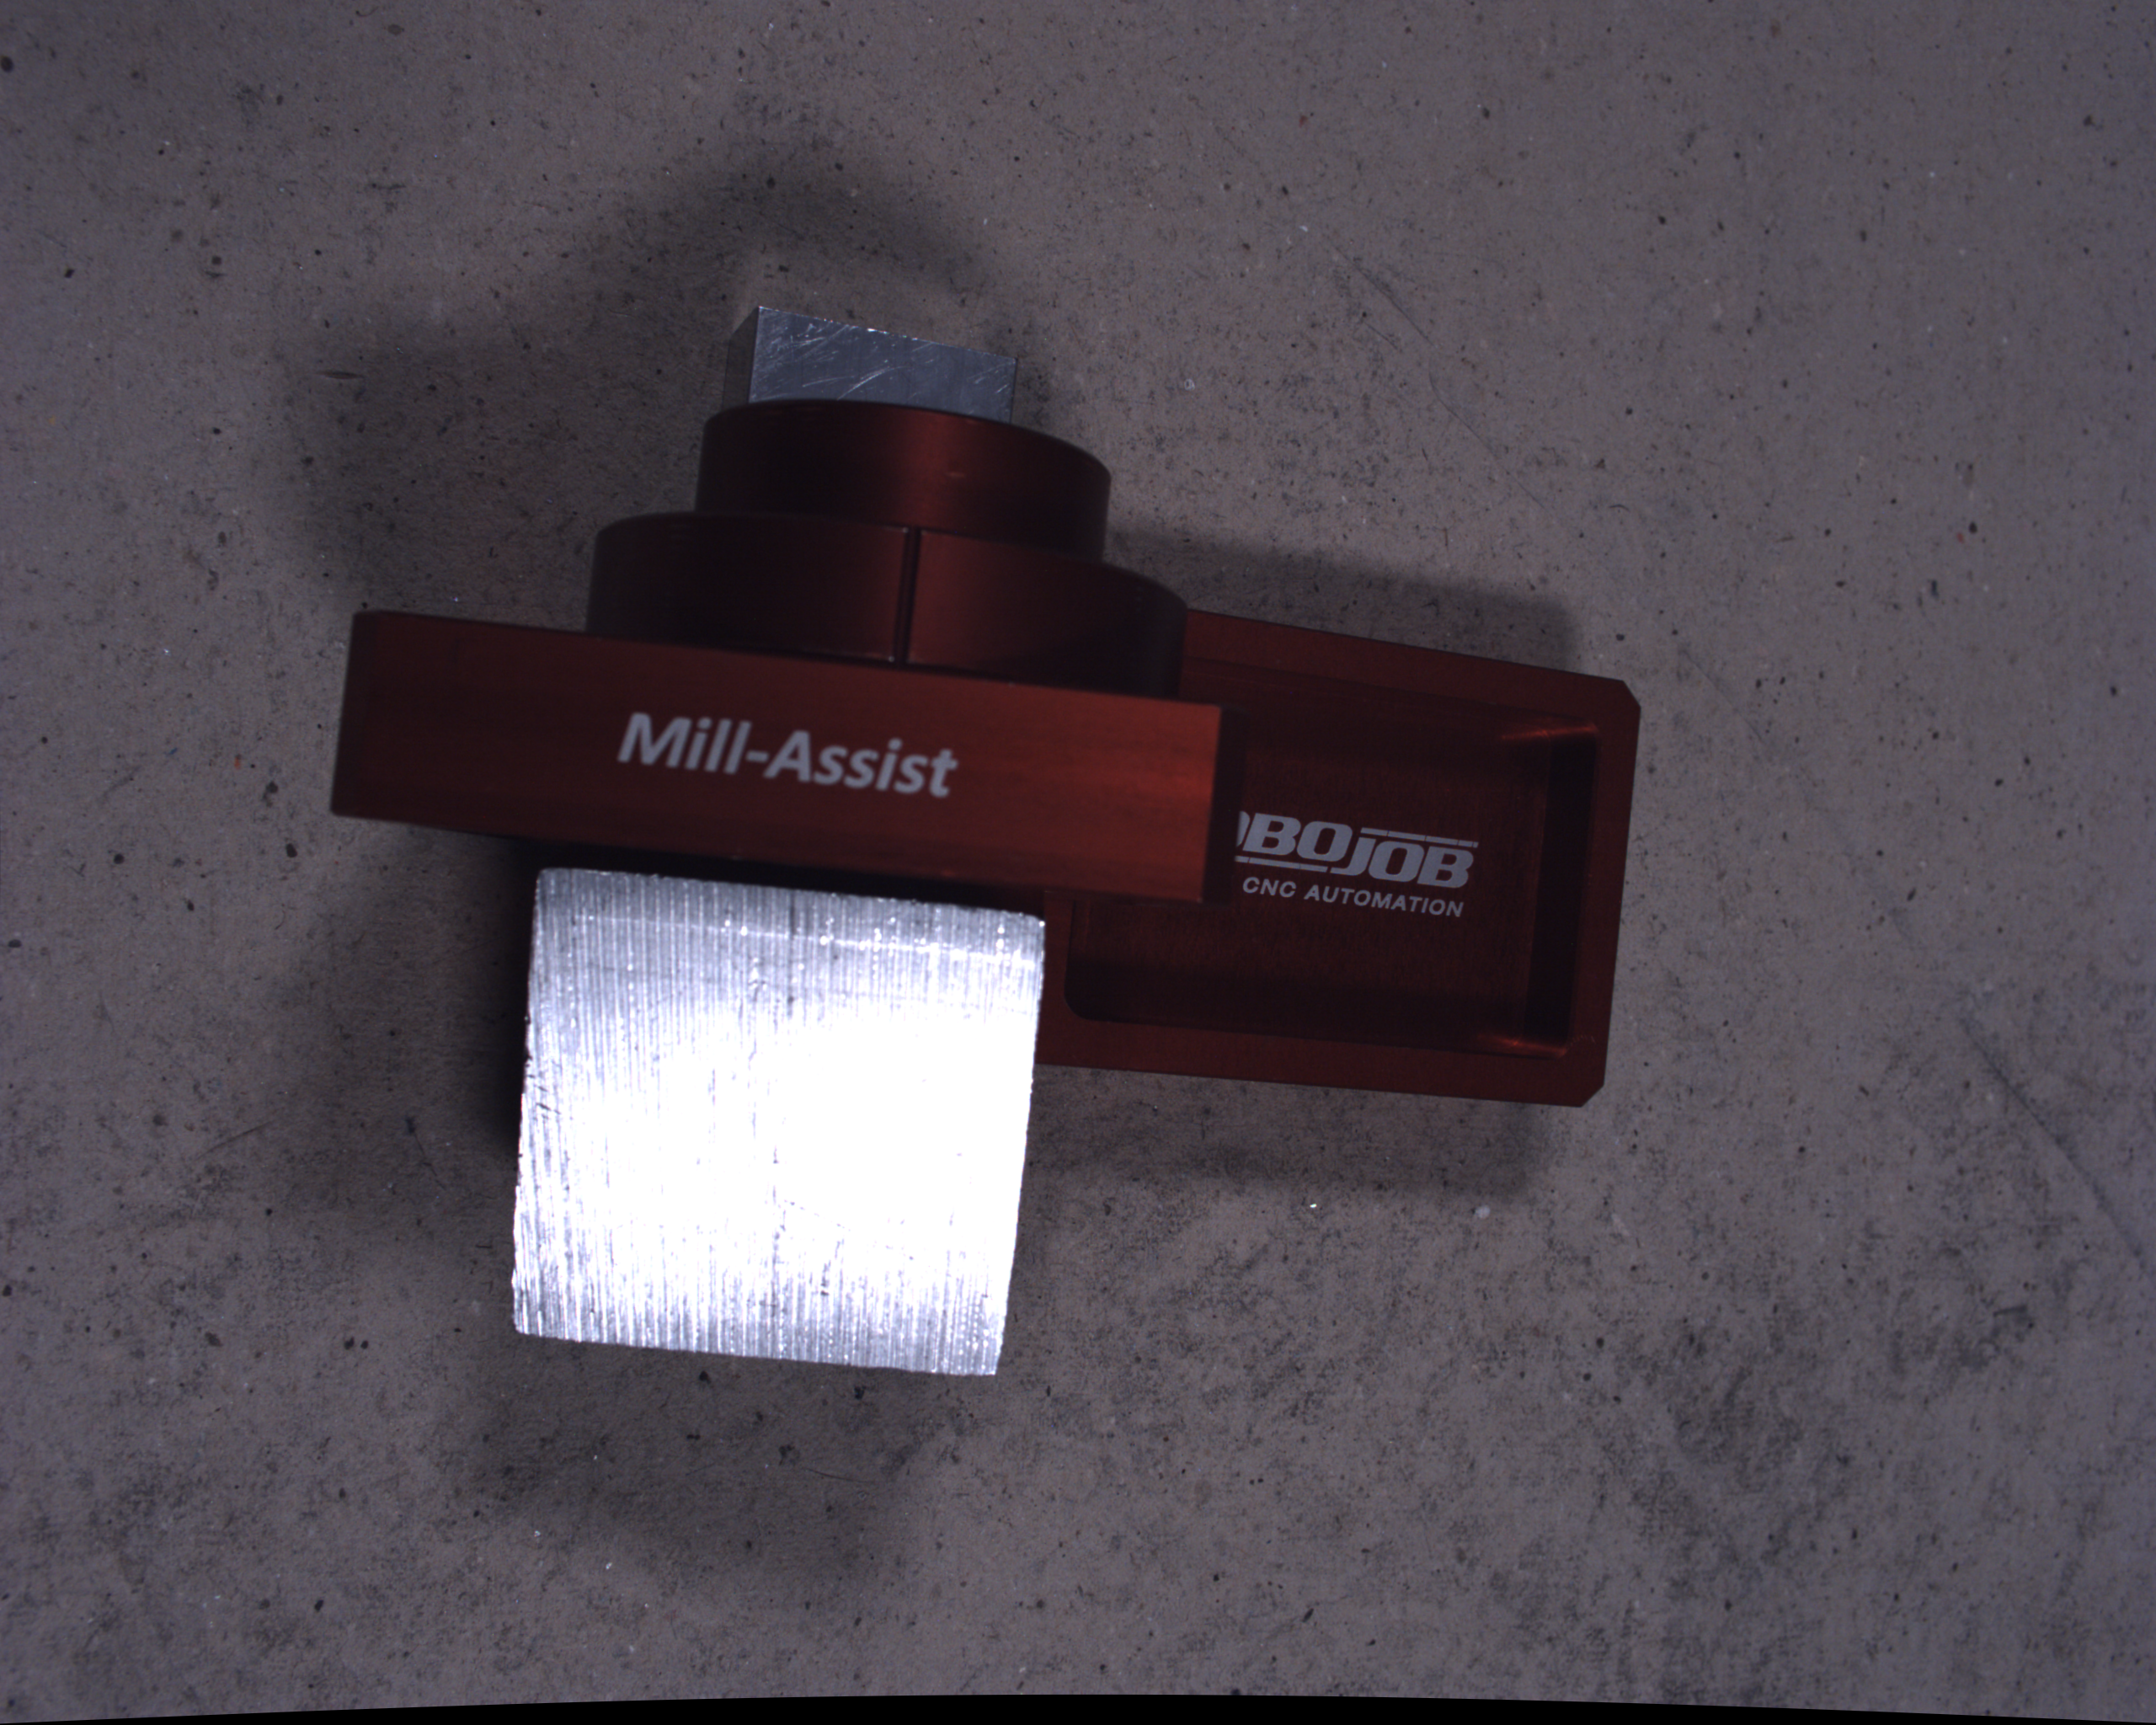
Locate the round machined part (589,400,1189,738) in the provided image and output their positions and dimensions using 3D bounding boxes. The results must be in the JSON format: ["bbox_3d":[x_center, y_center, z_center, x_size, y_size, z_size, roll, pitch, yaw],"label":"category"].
[{"bbox_3d":[-0.030,-0.048,0.349,0.099,0.098,0.042,6,88,-20],"label":"round machined part"}]

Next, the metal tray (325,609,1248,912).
[{"bbox_3d":[-0.043,-0.014,0.342,0.131,0.090,0.030,6,89,-2],"label":"metal tray"}]

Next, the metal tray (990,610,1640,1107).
[{"bbox_3d":[0.048,0.000,0.426,0.131,0.030,0.089,7,88,-20],"label":"metal tray"}]

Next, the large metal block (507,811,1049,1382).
[{"bbox_3d":[-0.049,0.038,0.360,0.081,0.050,0.079,6,101,-3],"label":"large metal block"}]

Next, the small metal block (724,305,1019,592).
[{"bbox_3d":[-0.042,-0.073,0.396,0.050,0.025,0.050,7,88,-20],"label":"small metal block"}]
